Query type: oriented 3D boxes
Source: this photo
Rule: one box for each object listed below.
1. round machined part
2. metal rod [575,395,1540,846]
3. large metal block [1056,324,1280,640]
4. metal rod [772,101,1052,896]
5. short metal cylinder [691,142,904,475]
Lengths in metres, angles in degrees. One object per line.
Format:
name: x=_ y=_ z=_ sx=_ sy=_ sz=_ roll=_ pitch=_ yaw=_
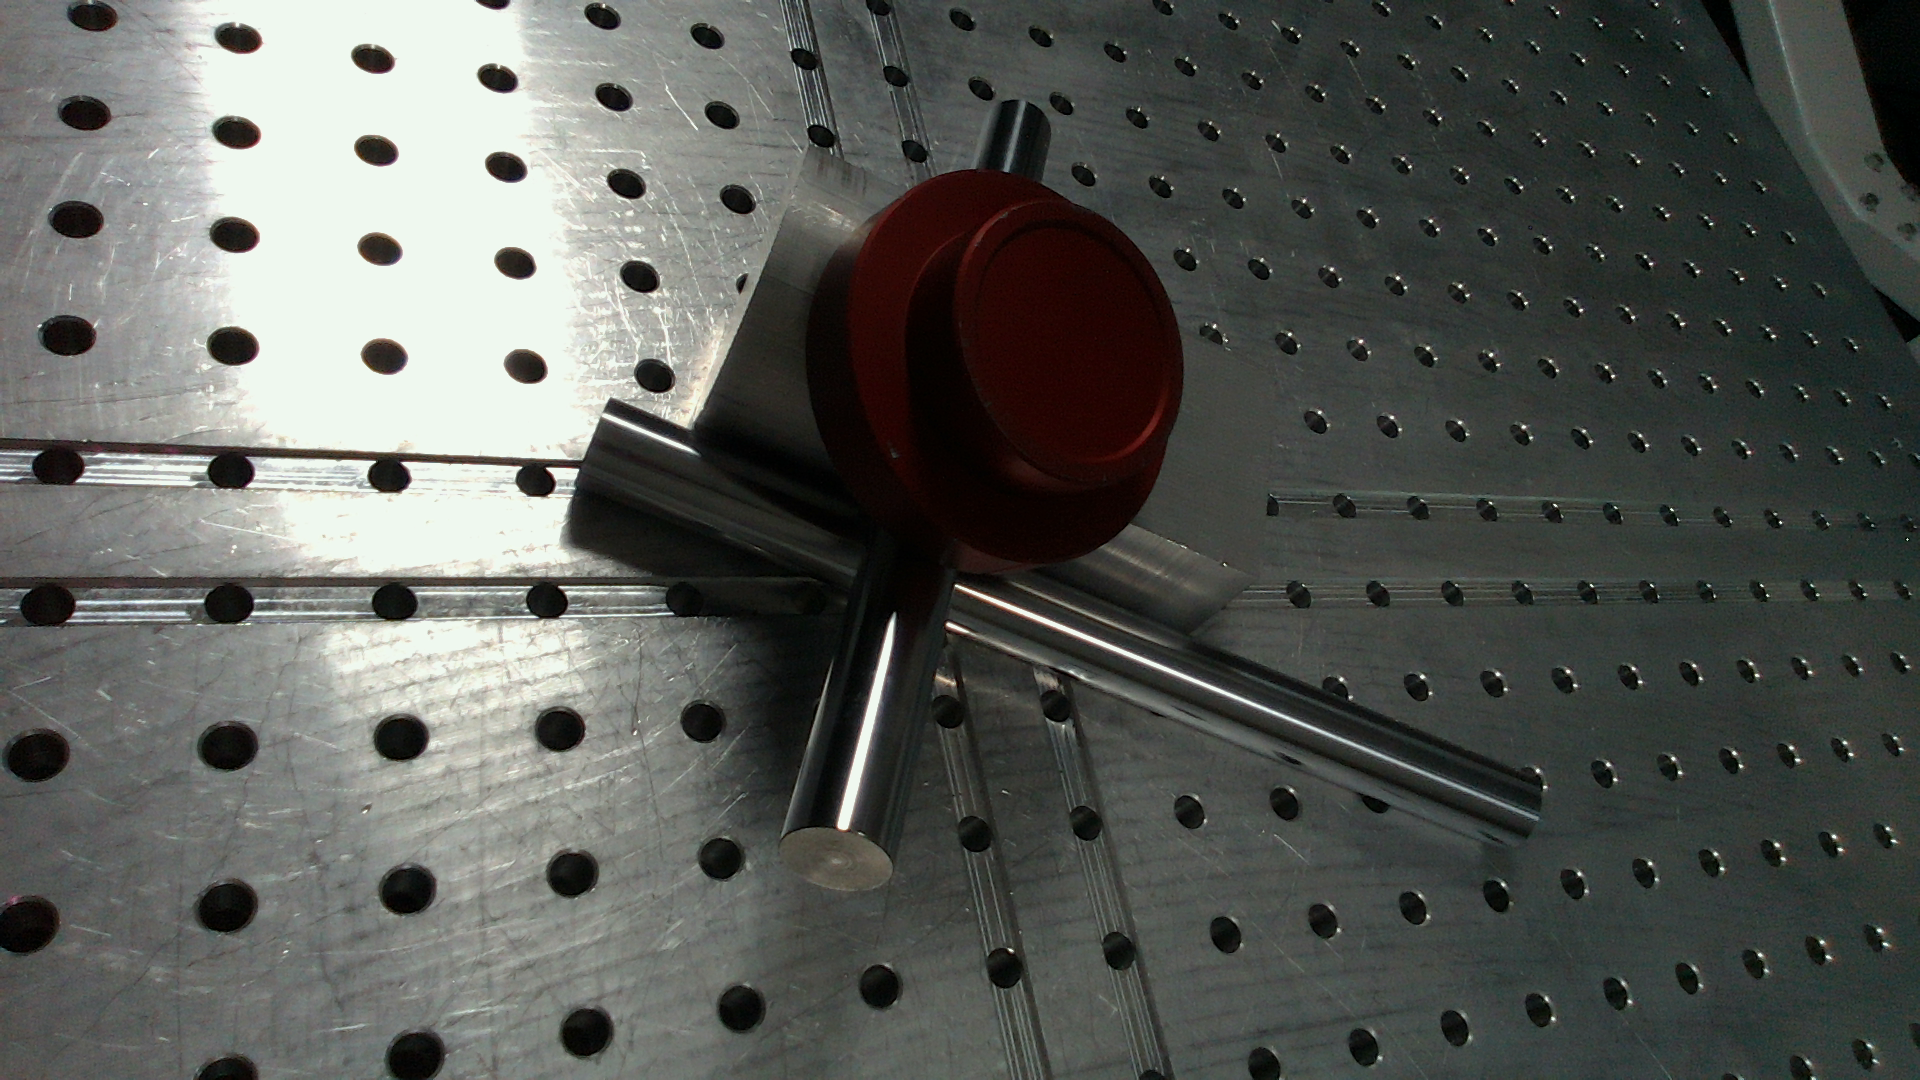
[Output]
round machined part: x=0.016 y=-0.043 z=0.332 sx=0.098 sy=0.042 sz=0.098 roll=7 pitch=77 yaw=-34
metal rod: x=0.039 y=0.029 z=0.395 sx=0.301 sy=0.025 sz=0.025 roll=22 pitch=53 yaw=-15
large metal block: x=0.046 y=-0.024 z=0.412 sx=0.080 sy=0.050 sz=0.080 roll=23 pitch=53 yaw=-14
metal rod: x=-0.003 y=-0.039 z=0.390 sx=0.025 sy=0.025 sz=0.300 roll=25 pitch=45 yaw=-13
short metal cylinder: x=-0.035 y=-0.060 z=0.375 sx=0.050 sy=0.080 sz=0.080 roll=22 pitch=53 yaw=-14
